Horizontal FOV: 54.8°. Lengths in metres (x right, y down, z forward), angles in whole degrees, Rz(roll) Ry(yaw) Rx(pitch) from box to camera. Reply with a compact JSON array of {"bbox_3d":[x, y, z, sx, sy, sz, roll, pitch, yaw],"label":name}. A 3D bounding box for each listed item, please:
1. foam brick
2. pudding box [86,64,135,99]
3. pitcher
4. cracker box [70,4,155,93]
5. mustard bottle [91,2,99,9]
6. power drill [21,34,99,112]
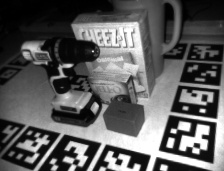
[{"bbox_3d":[0.029,0.064,0.508,0.077,0.052,0.053,9,48,26],"label":"foam brick"},{"bbox_3d":[-0.005,-0.009,0.551,0.112,0.091,0.039,5,43,27],"label":"pudding box"},{"bbox_3d":[0.090,-0.147,0.588,0.186,0.245,0.134,10,47,30],"label":"pitcher"},{"bbox_3d":[0.009,-0.080,0.544,0.162,0.215,0.072,3,42,25],"label":"cracker box"},{"bbox_3d":[-0.028,-0.153,0.648,0.095,0.193,0.059,18,52,34],"label":"mustard bottle"},{"bbox_3d":[-0.099,-0.026,0.491,0.182,0.188,0.057,6,42,23],"label":"power drill"}]
